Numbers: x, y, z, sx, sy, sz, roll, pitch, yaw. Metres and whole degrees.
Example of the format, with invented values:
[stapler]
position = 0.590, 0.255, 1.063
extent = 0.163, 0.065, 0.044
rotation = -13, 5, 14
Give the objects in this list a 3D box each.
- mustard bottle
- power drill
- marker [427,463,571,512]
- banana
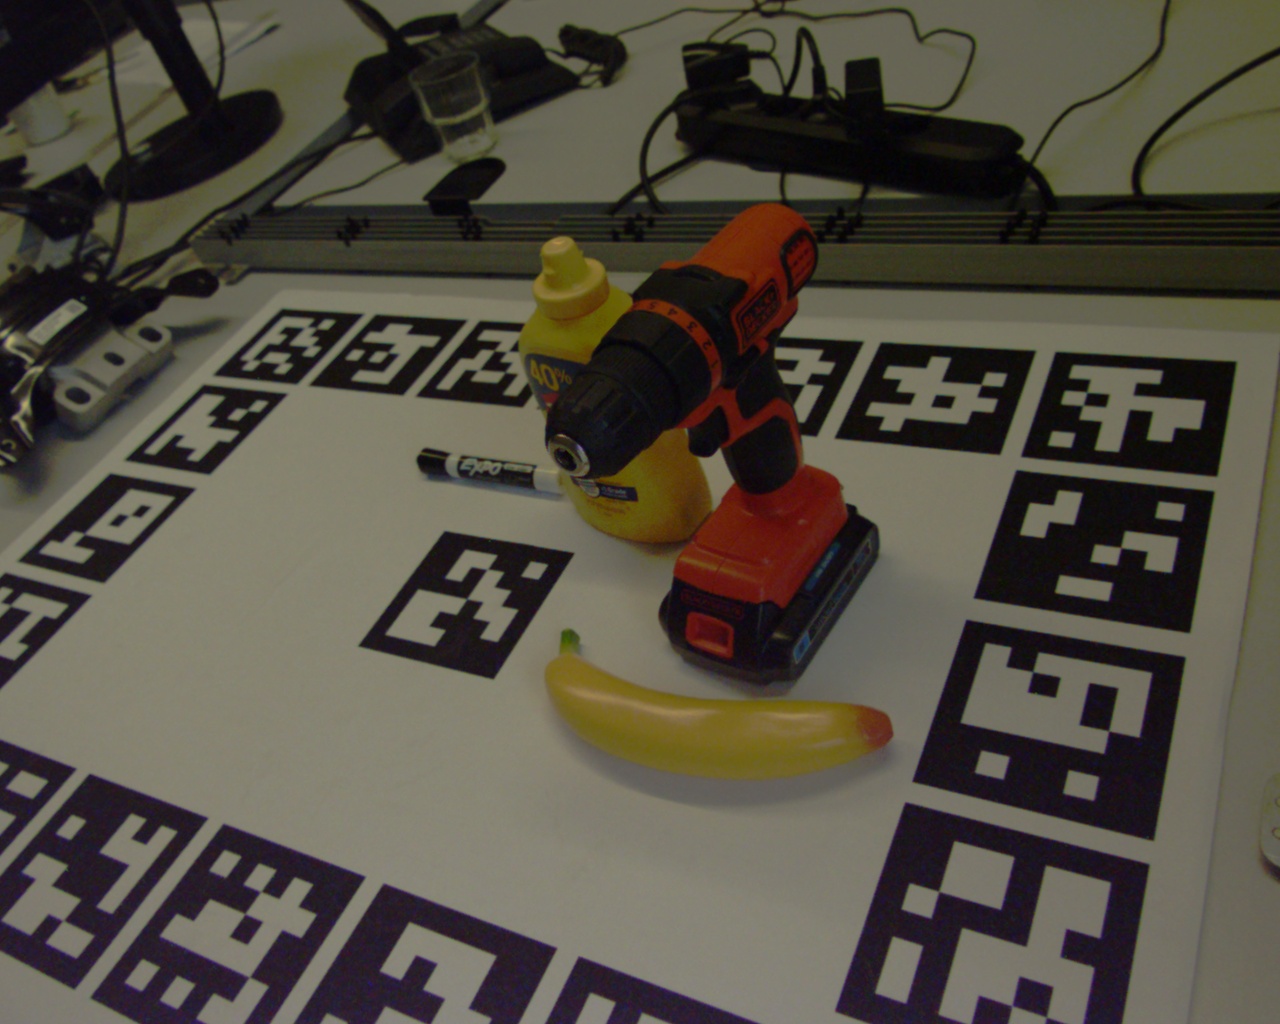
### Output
[mustard bottle]
position = -0.018, -0.056, 0.702
extent = 0.097, 0.190, 0.058
rotation = 19, 54, 34
[power drill]
position = 0.045, -0.008, 0.603
extent = 0.058, 0.185, 0.183
rotation = 22, 54, 34
[marker]
position = -0.105, -0.019, 0.824
extent = 0.122, 0.019, 0.019
rotation = 10, 51, 29
[banana]
position = 0.024, 0.119, 0.621
extent = 0.200, 0.038, 0.074
rotation = 14, 54, 34
